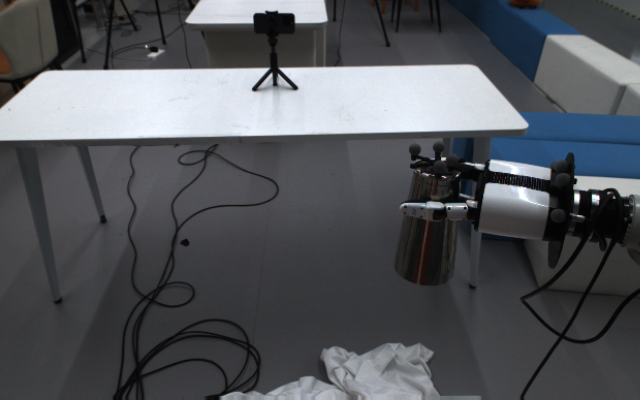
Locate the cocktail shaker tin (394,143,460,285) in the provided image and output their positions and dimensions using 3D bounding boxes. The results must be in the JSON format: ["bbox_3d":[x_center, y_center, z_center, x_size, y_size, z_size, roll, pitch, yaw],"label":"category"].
[{"bbox_3d":[0.168,0.028,0.727,0.093,0.170,0.093,1,27,-1],"label":"cocktail shaker tin"}]
